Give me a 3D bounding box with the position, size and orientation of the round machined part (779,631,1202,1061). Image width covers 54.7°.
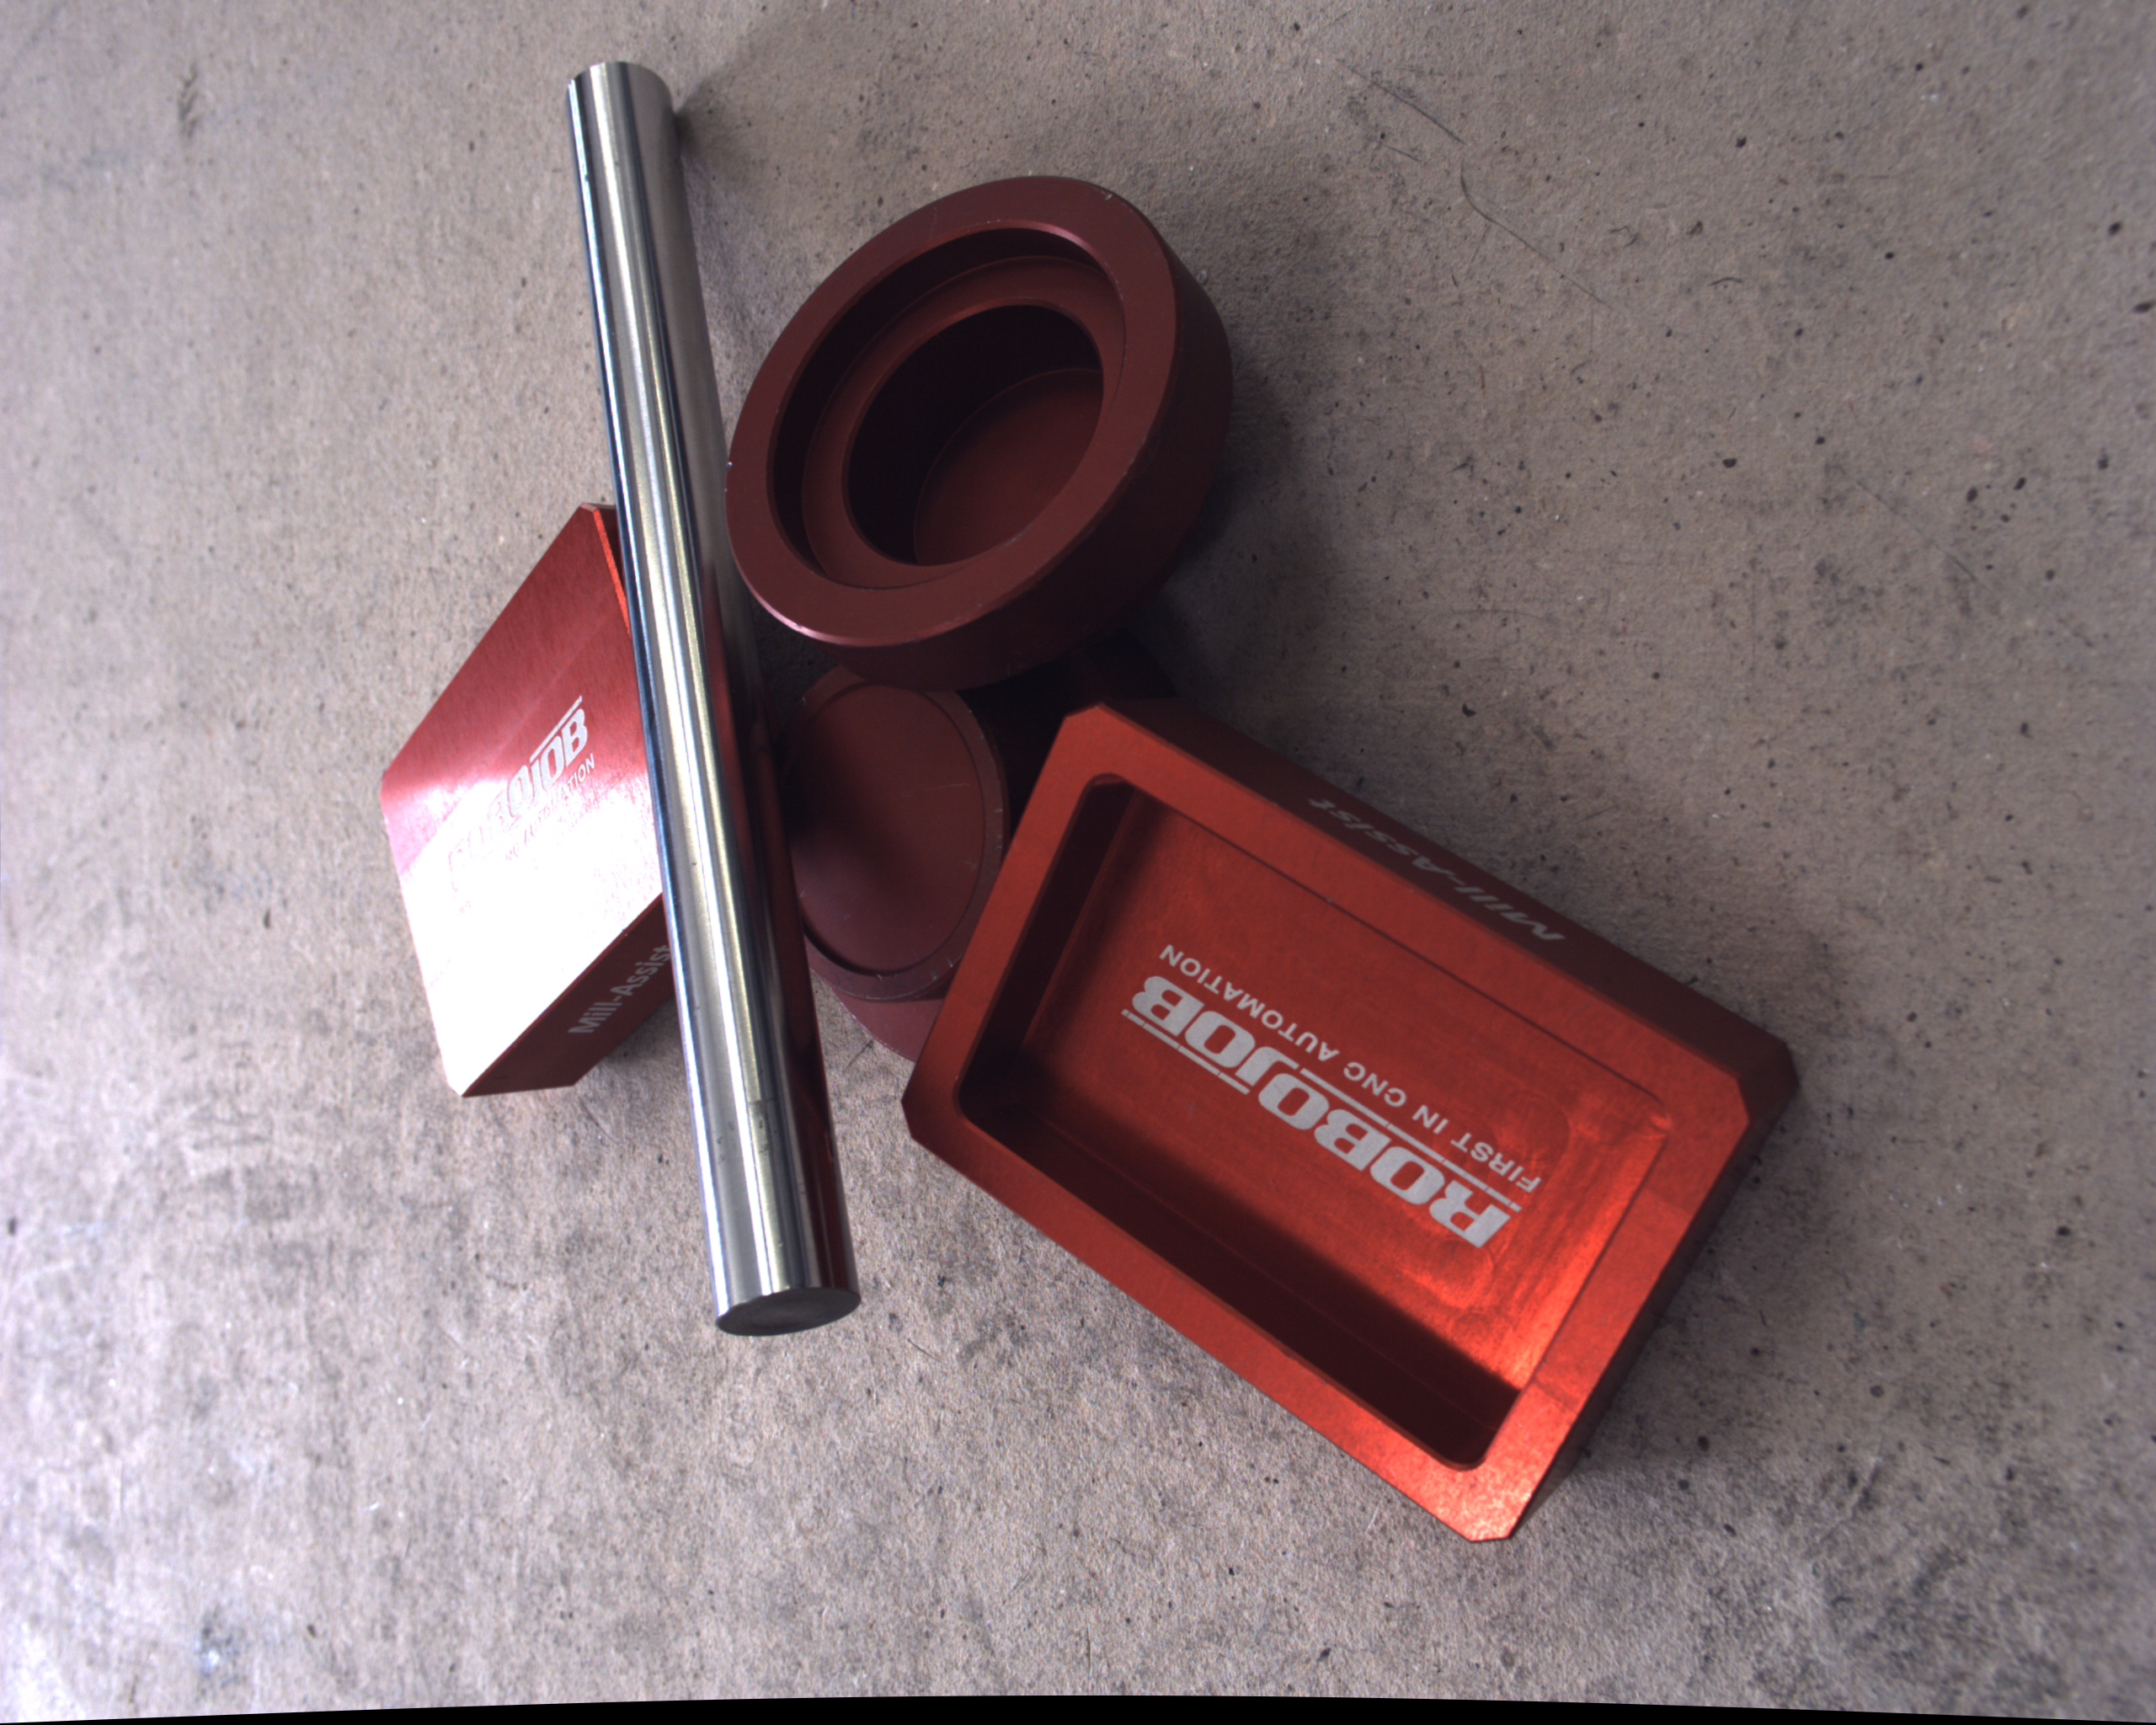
[{"bbox_3d":[-0.025,-0.007,0.417,0.098,0.042,0.097,0,90,40],"label":"round machined part"}]

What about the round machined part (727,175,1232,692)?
[{"bbox_3d":[-0.015,-0.076,0.393,0.098,0.042,0.098,-14,61,27],"label":"round machined part"}]

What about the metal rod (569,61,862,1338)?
[{"bbox_3d":[-0.079,-0.051,0.428,0.025,0.025,0.299,-34,56,35],"label":"metal rod"}]

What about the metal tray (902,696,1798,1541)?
[{"bbox_3d":[0.041,0.039,0.355,0.130,0.030,0.089,32,110,24],"label":"metal tray"}]

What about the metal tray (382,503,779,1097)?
[{"bbox_3d":[-0.116,-0.011,0.485,0.129,0.030,0.090,-38,64,42],"label":"metal tray"}]
